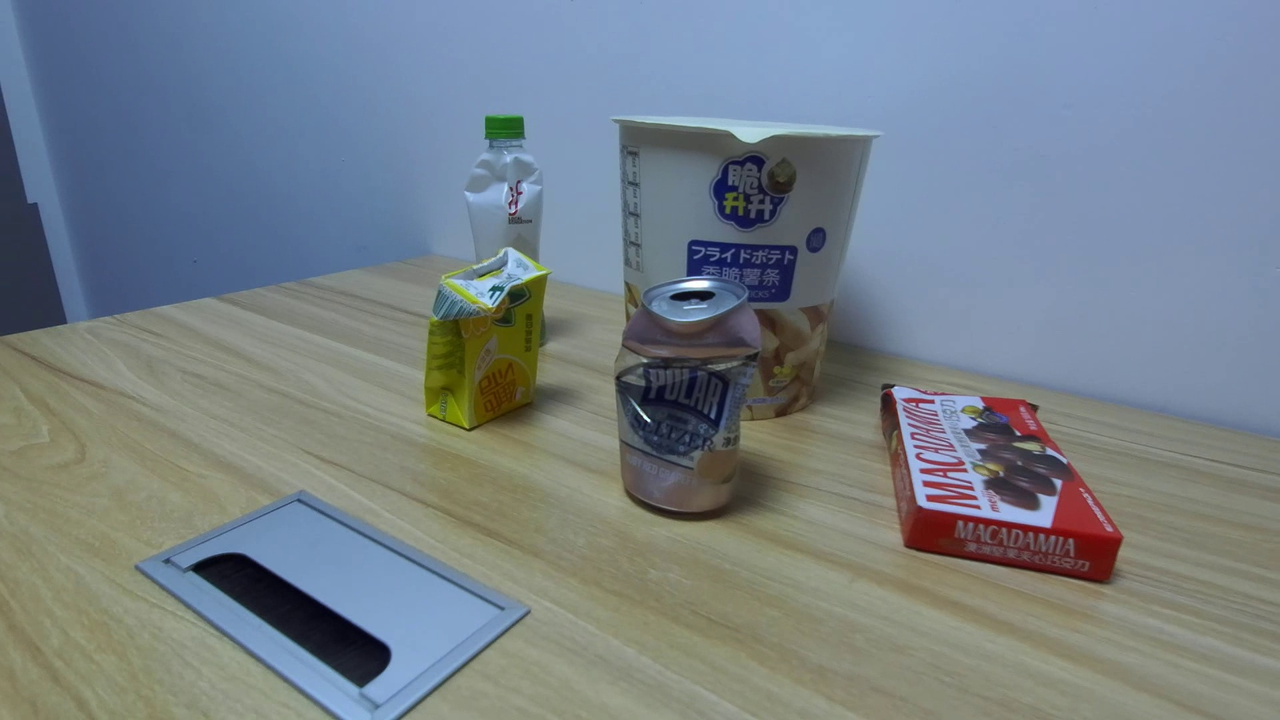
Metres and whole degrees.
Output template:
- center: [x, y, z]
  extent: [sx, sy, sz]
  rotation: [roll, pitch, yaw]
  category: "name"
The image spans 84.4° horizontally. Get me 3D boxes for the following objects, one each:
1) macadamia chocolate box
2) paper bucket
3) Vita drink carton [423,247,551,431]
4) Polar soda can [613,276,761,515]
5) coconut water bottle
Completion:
- center: [0.204, 0.061, 0.425]
  extent: [0.105, 0.028, 0.183]
  rotation: [8, 20, 13]
  category: "macadamia chocolate box"
- center: [0.069, -0.072, 0.523]
  extent: [0.198, 0.194, 0.198]
  rotation: [2, 19, -1]
  category: "paper bucket"
- center: [-0.098, -0.012, 0.463]
  extent: [0.042, 0.108, 0.087]
  rotation: [29, 33, 25]
  category: "Vita drink carton"
- center: [0.022, 0.021, 0.372]
  extent: [0.071, 0.122, 0.066]
  rotation: [-2, 25, -11]
  category: "Polar soda can"
- center: [-0.110, -0.103, 0.587]
  extent: [0.069, 0.186, 0.069]
  rotation: [4, 18, -1]
  category: "coconut water bottle"
